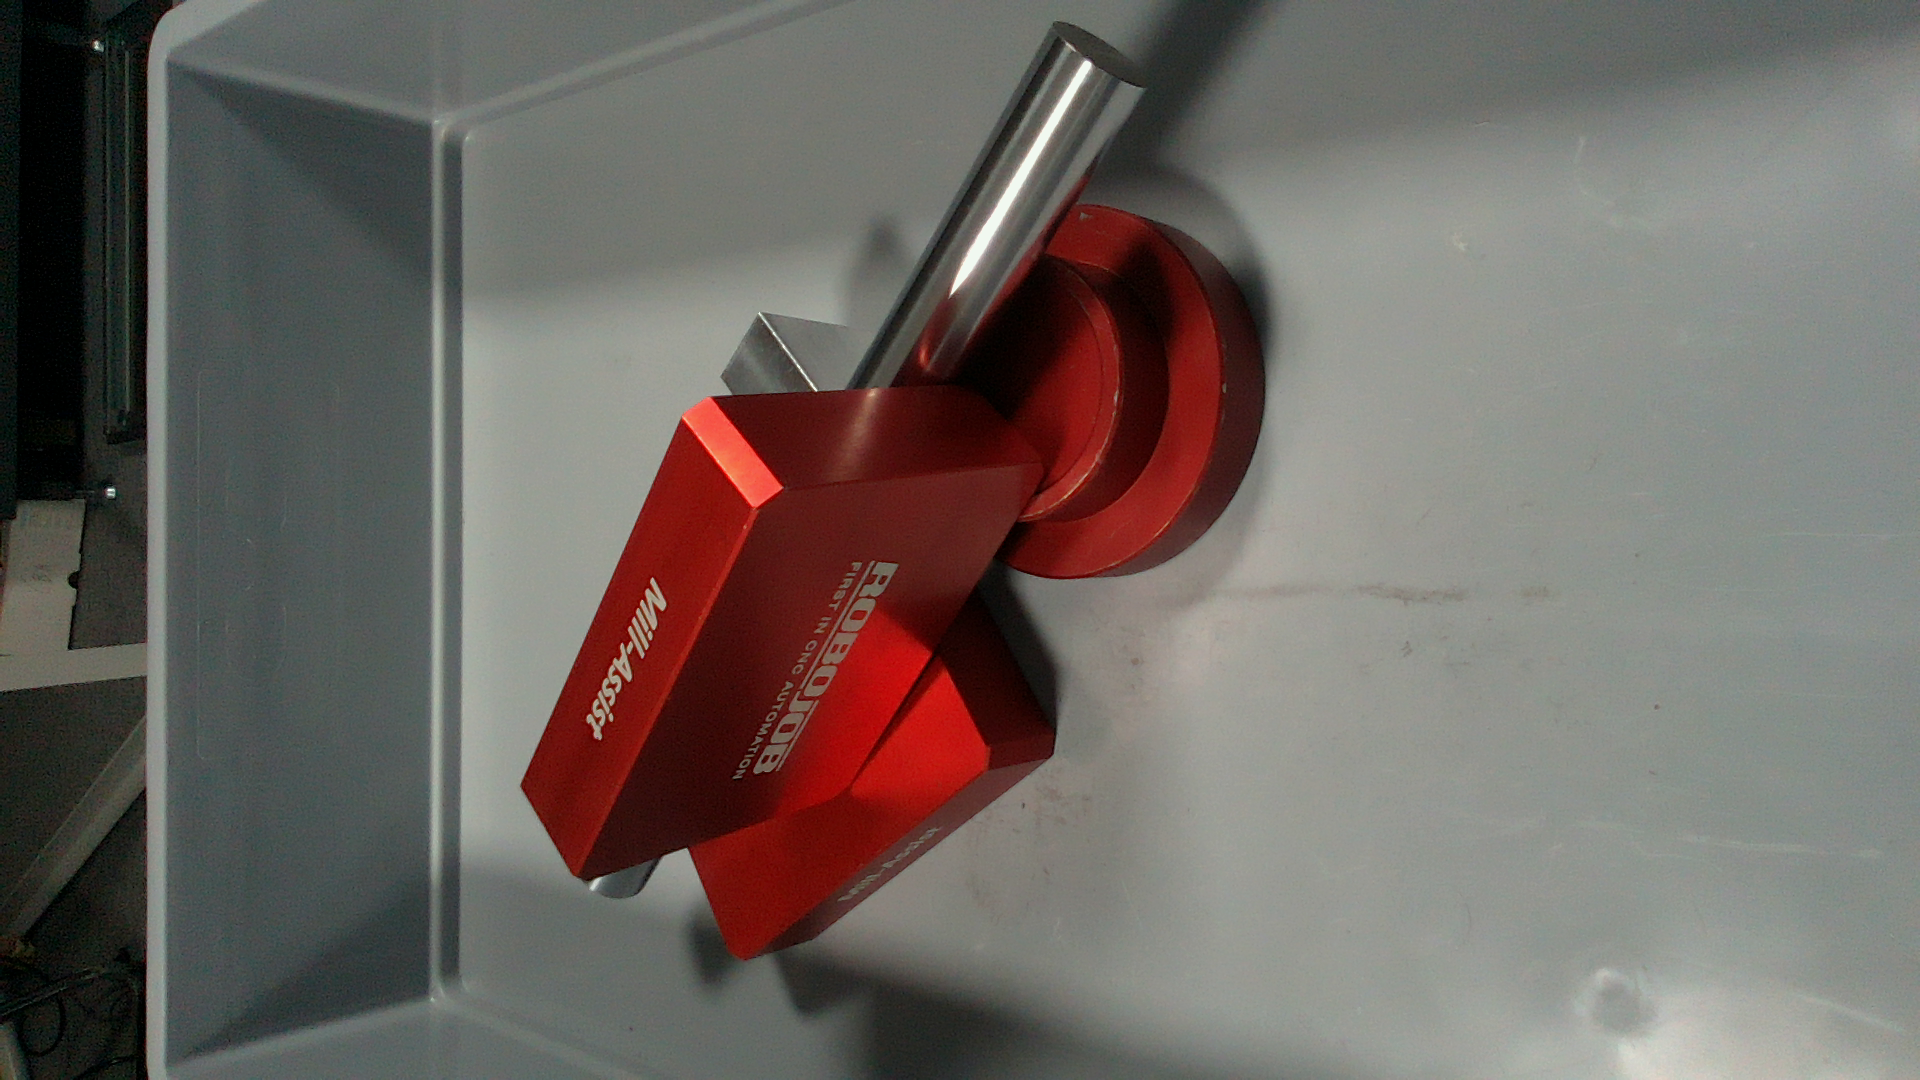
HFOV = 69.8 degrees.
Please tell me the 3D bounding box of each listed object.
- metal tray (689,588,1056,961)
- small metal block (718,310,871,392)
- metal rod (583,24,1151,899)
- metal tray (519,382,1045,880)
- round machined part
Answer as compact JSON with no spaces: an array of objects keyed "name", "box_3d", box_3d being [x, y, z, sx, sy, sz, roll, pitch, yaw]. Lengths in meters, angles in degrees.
[{"name":"metal tray","box_3d":[-0.040,0.060,0.424,0.130,0.030,0.090,-43,64,32]},{"name":"small metal block","box_3d":[-0.035,-0.039,0.406,0.025,0.050,0.050,-52,59,27]},{"name":"metal rod","box_3d":[-0.041,0.001,0.377,0.025,0.025,0.299,52,125,27]},{"name":"metal tray","box_3d":[-0.045,0.022,0.339,0.030,0.090,0.130,49,126,26]},{"name":"round machined part","box_3d":[0.025,-0.039,0.360,0.098,0.042,0.098,0,90,40]}]
